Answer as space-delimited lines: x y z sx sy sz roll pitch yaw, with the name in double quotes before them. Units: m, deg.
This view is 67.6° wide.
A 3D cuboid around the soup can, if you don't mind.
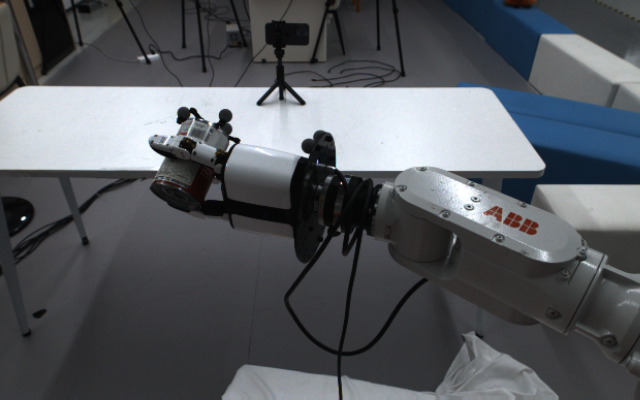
"soup can" -0.166 -0.045 0.626 0.067 0.067 0.101 12 66 14
